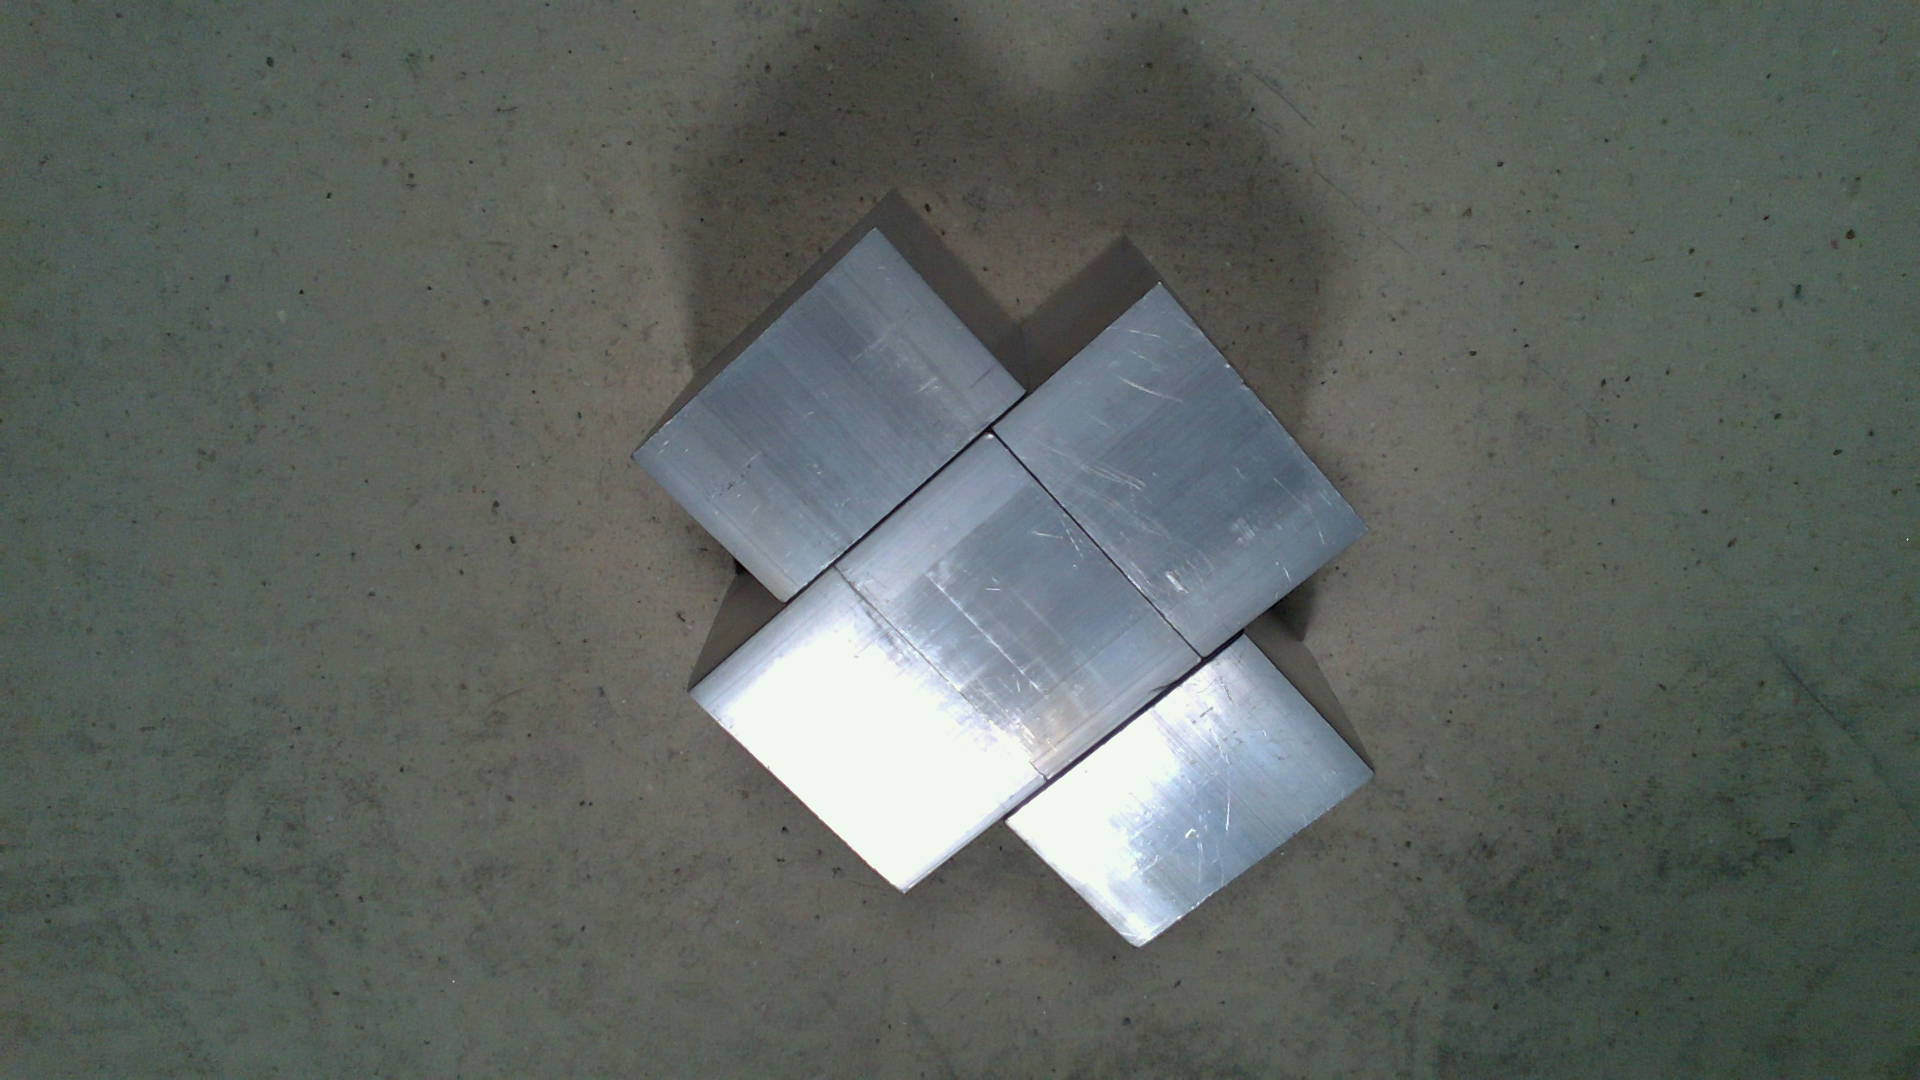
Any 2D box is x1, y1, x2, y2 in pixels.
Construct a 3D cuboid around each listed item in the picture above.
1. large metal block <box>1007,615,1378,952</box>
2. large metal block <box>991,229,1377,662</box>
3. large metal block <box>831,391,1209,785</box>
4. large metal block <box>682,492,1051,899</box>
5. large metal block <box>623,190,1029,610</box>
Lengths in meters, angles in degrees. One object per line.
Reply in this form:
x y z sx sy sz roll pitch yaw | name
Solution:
0.059 0.052 0.385 0.080 0.080 0.050 -40 105 13 | large metal block
0.053 -0.028 0.355 0.050 0.080 0.080 -40 105 14 | large metal block
0.015 0.004 0.367 0.050 0.080 0.080 -40 105 14 | large metal block
-0.022 0.036 0.378 0.050 0.080 0.080 -40 105 14 | large metal block
-0.031 -0.040 0.351 0.080 0.080 0.050 -40 105 13 | large metal block
